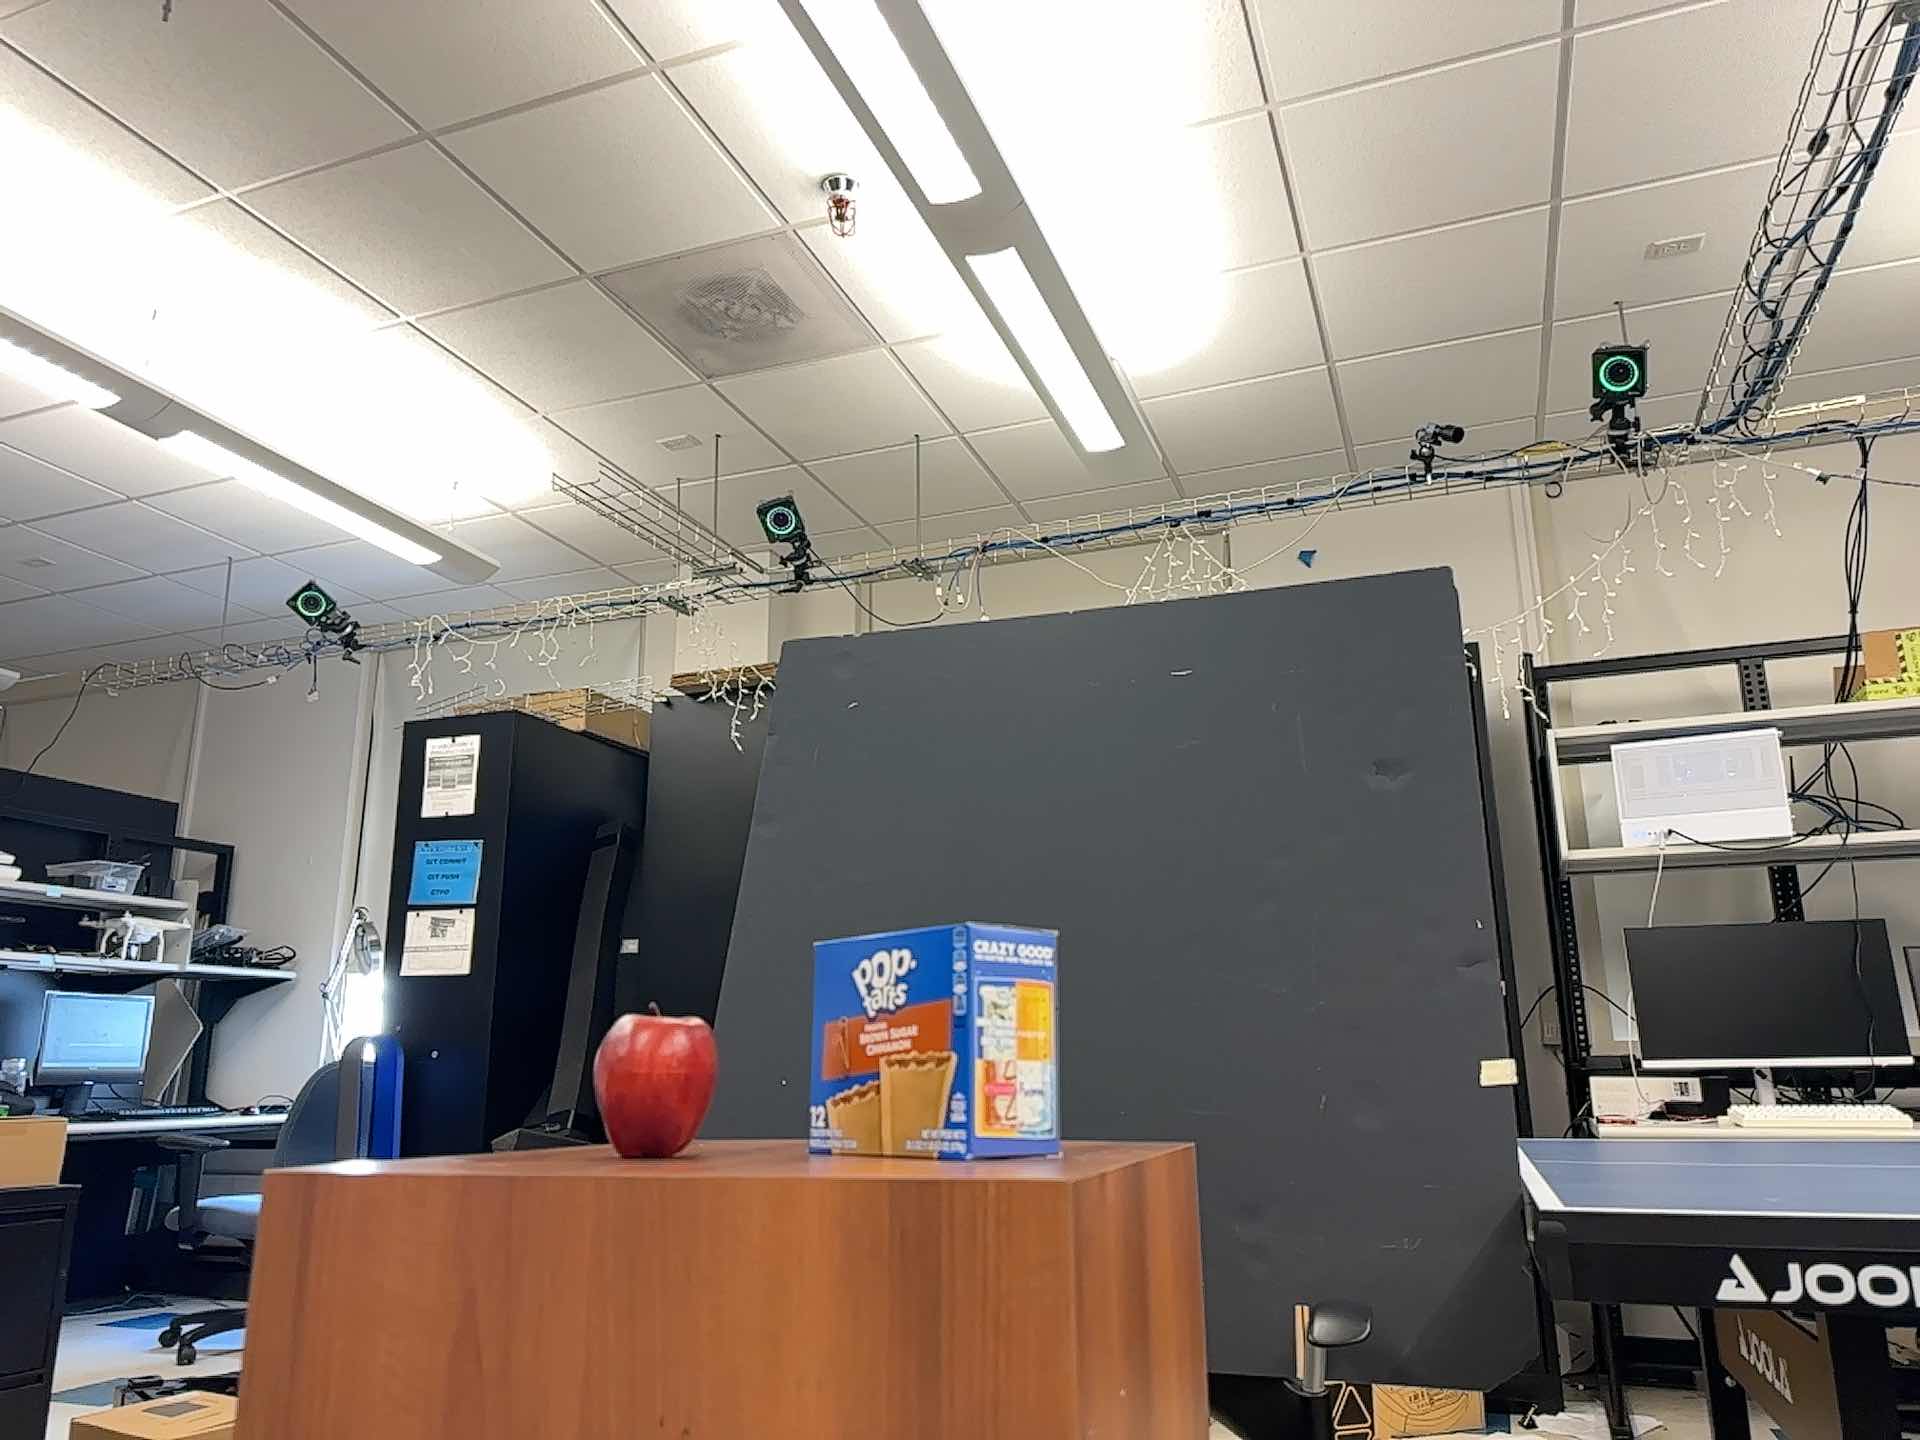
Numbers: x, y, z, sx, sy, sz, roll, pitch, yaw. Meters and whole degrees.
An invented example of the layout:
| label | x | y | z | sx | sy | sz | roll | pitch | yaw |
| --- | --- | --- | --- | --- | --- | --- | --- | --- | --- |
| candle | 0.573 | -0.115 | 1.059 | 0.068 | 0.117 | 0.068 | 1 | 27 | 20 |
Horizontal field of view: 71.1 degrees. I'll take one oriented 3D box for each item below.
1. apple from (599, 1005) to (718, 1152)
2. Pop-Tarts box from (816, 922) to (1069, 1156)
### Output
| label | x | y | z | sx | sy | sz | roll | pitch | yaw |
| --- | --- | --- | --- | --- | --- | --- | --- | --- | --- |
| apple | -0.202 | 0.236 | 0.891 | 0.079 | 0.093 | 0.079 | 0 | -14 | 0 |
| Pop-Tarts box | -0.016 | 0.215 | 0.893 | 0.075 | 0.135 | 0.161 | 13 | -20 | -39 |
